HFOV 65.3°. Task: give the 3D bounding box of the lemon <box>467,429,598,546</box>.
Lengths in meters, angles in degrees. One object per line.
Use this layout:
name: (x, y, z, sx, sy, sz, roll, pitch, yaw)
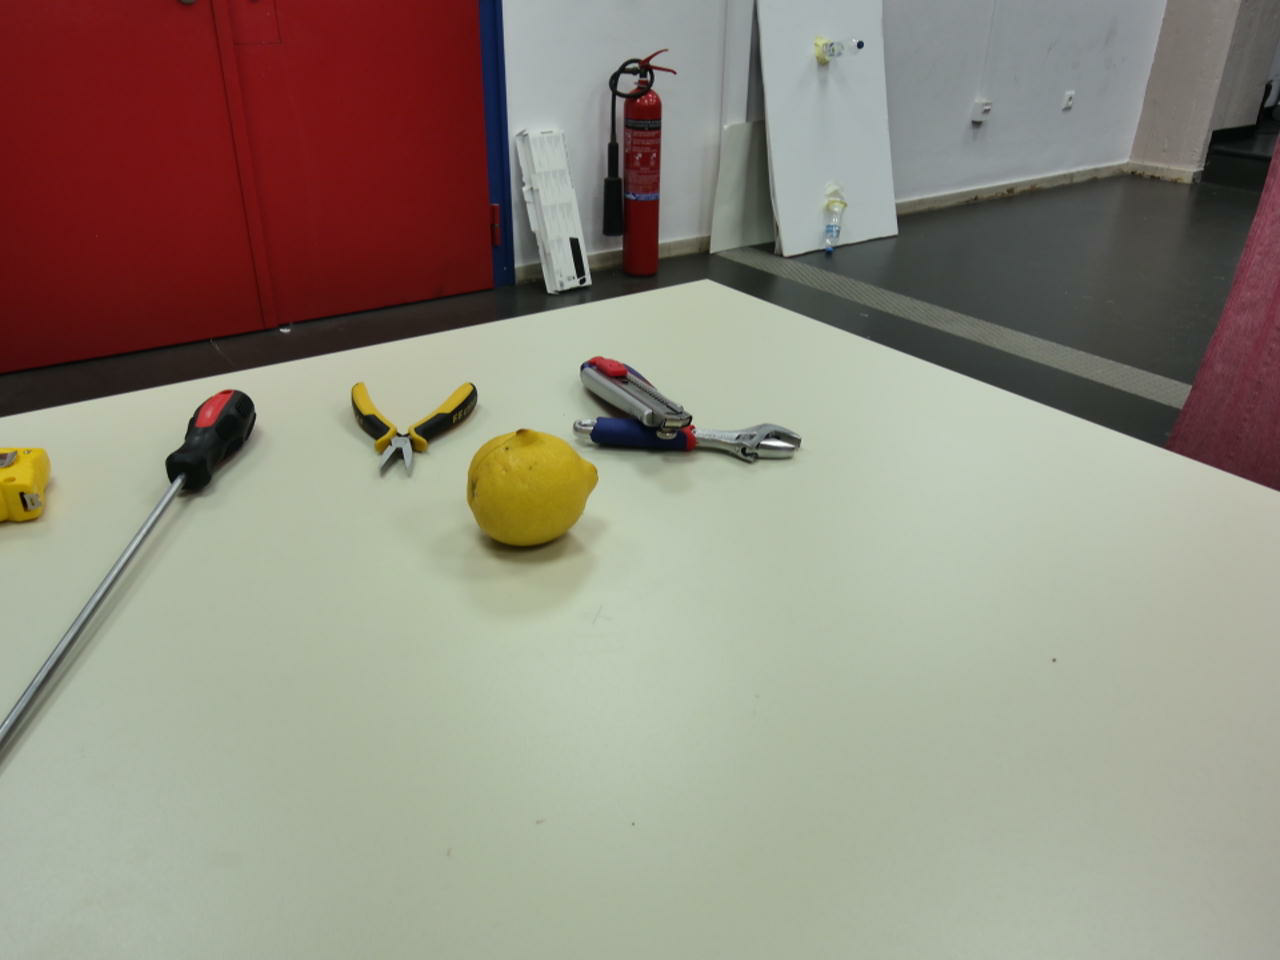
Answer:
lemon: (-0.066, 0.002, 0.582, 0.071, 0.071, 0.070, 9, 27, 17)
